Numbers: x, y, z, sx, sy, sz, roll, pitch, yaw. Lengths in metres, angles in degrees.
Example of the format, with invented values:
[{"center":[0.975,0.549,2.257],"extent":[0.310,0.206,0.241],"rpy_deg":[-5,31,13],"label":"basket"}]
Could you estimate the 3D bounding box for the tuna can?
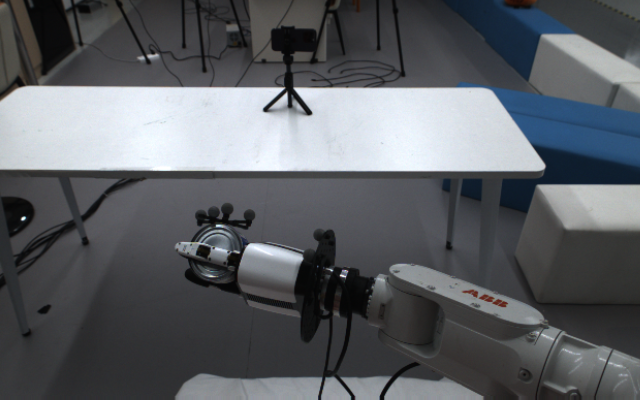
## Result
[{"center":[-0.146,0.080,0.708],"extent":[0.085,0.034,0.085],"rpy_deg":[-5,71,14],"label":"tuna can"}]
